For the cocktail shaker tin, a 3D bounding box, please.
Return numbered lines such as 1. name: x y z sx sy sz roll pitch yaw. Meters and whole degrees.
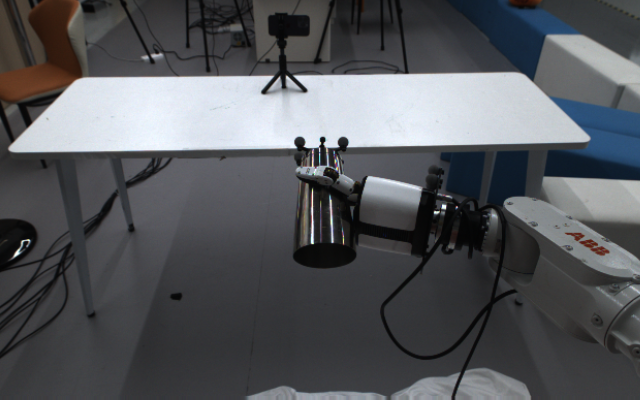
1. cocktail shaker tin: 0.003 0.007 0.730 0.093 0.093 0.170 0 59 -3
